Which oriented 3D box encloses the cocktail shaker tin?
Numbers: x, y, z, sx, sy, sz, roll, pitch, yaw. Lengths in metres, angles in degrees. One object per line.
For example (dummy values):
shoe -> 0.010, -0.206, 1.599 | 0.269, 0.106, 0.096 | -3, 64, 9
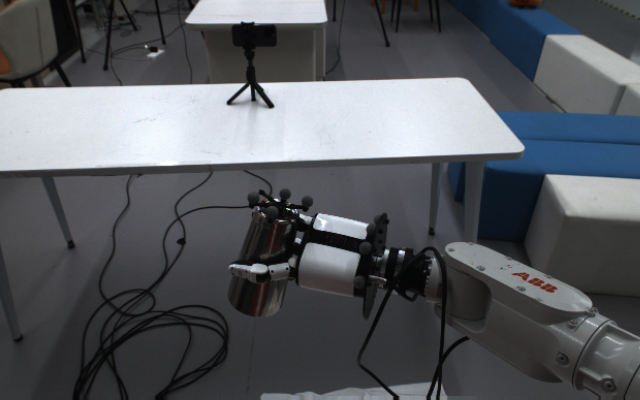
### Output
cocktail shaker tin -> -0.081, 0.084, 0.744 | 0.093, 0.170, 0.093 | 12, 29, -7
